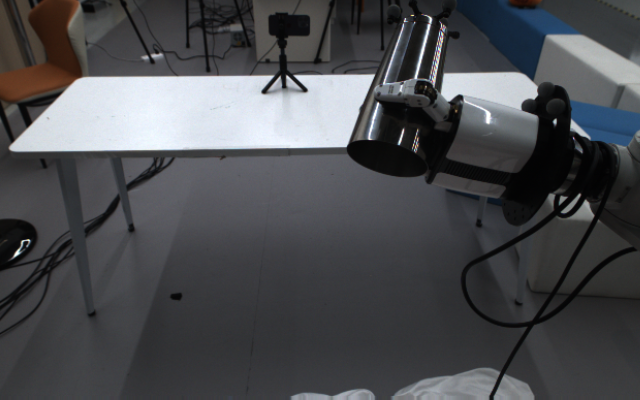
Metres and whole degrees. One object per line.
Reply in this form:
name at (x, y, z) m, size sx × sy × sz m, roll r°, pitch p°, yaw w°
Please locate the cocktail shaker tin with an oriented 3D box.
cocktail shaker tin at (0.099, -0.123, 0.556) m, size 0.093 × 0.093 × 0.170 m, roll 13°, pitch 73°, yaw 15°
